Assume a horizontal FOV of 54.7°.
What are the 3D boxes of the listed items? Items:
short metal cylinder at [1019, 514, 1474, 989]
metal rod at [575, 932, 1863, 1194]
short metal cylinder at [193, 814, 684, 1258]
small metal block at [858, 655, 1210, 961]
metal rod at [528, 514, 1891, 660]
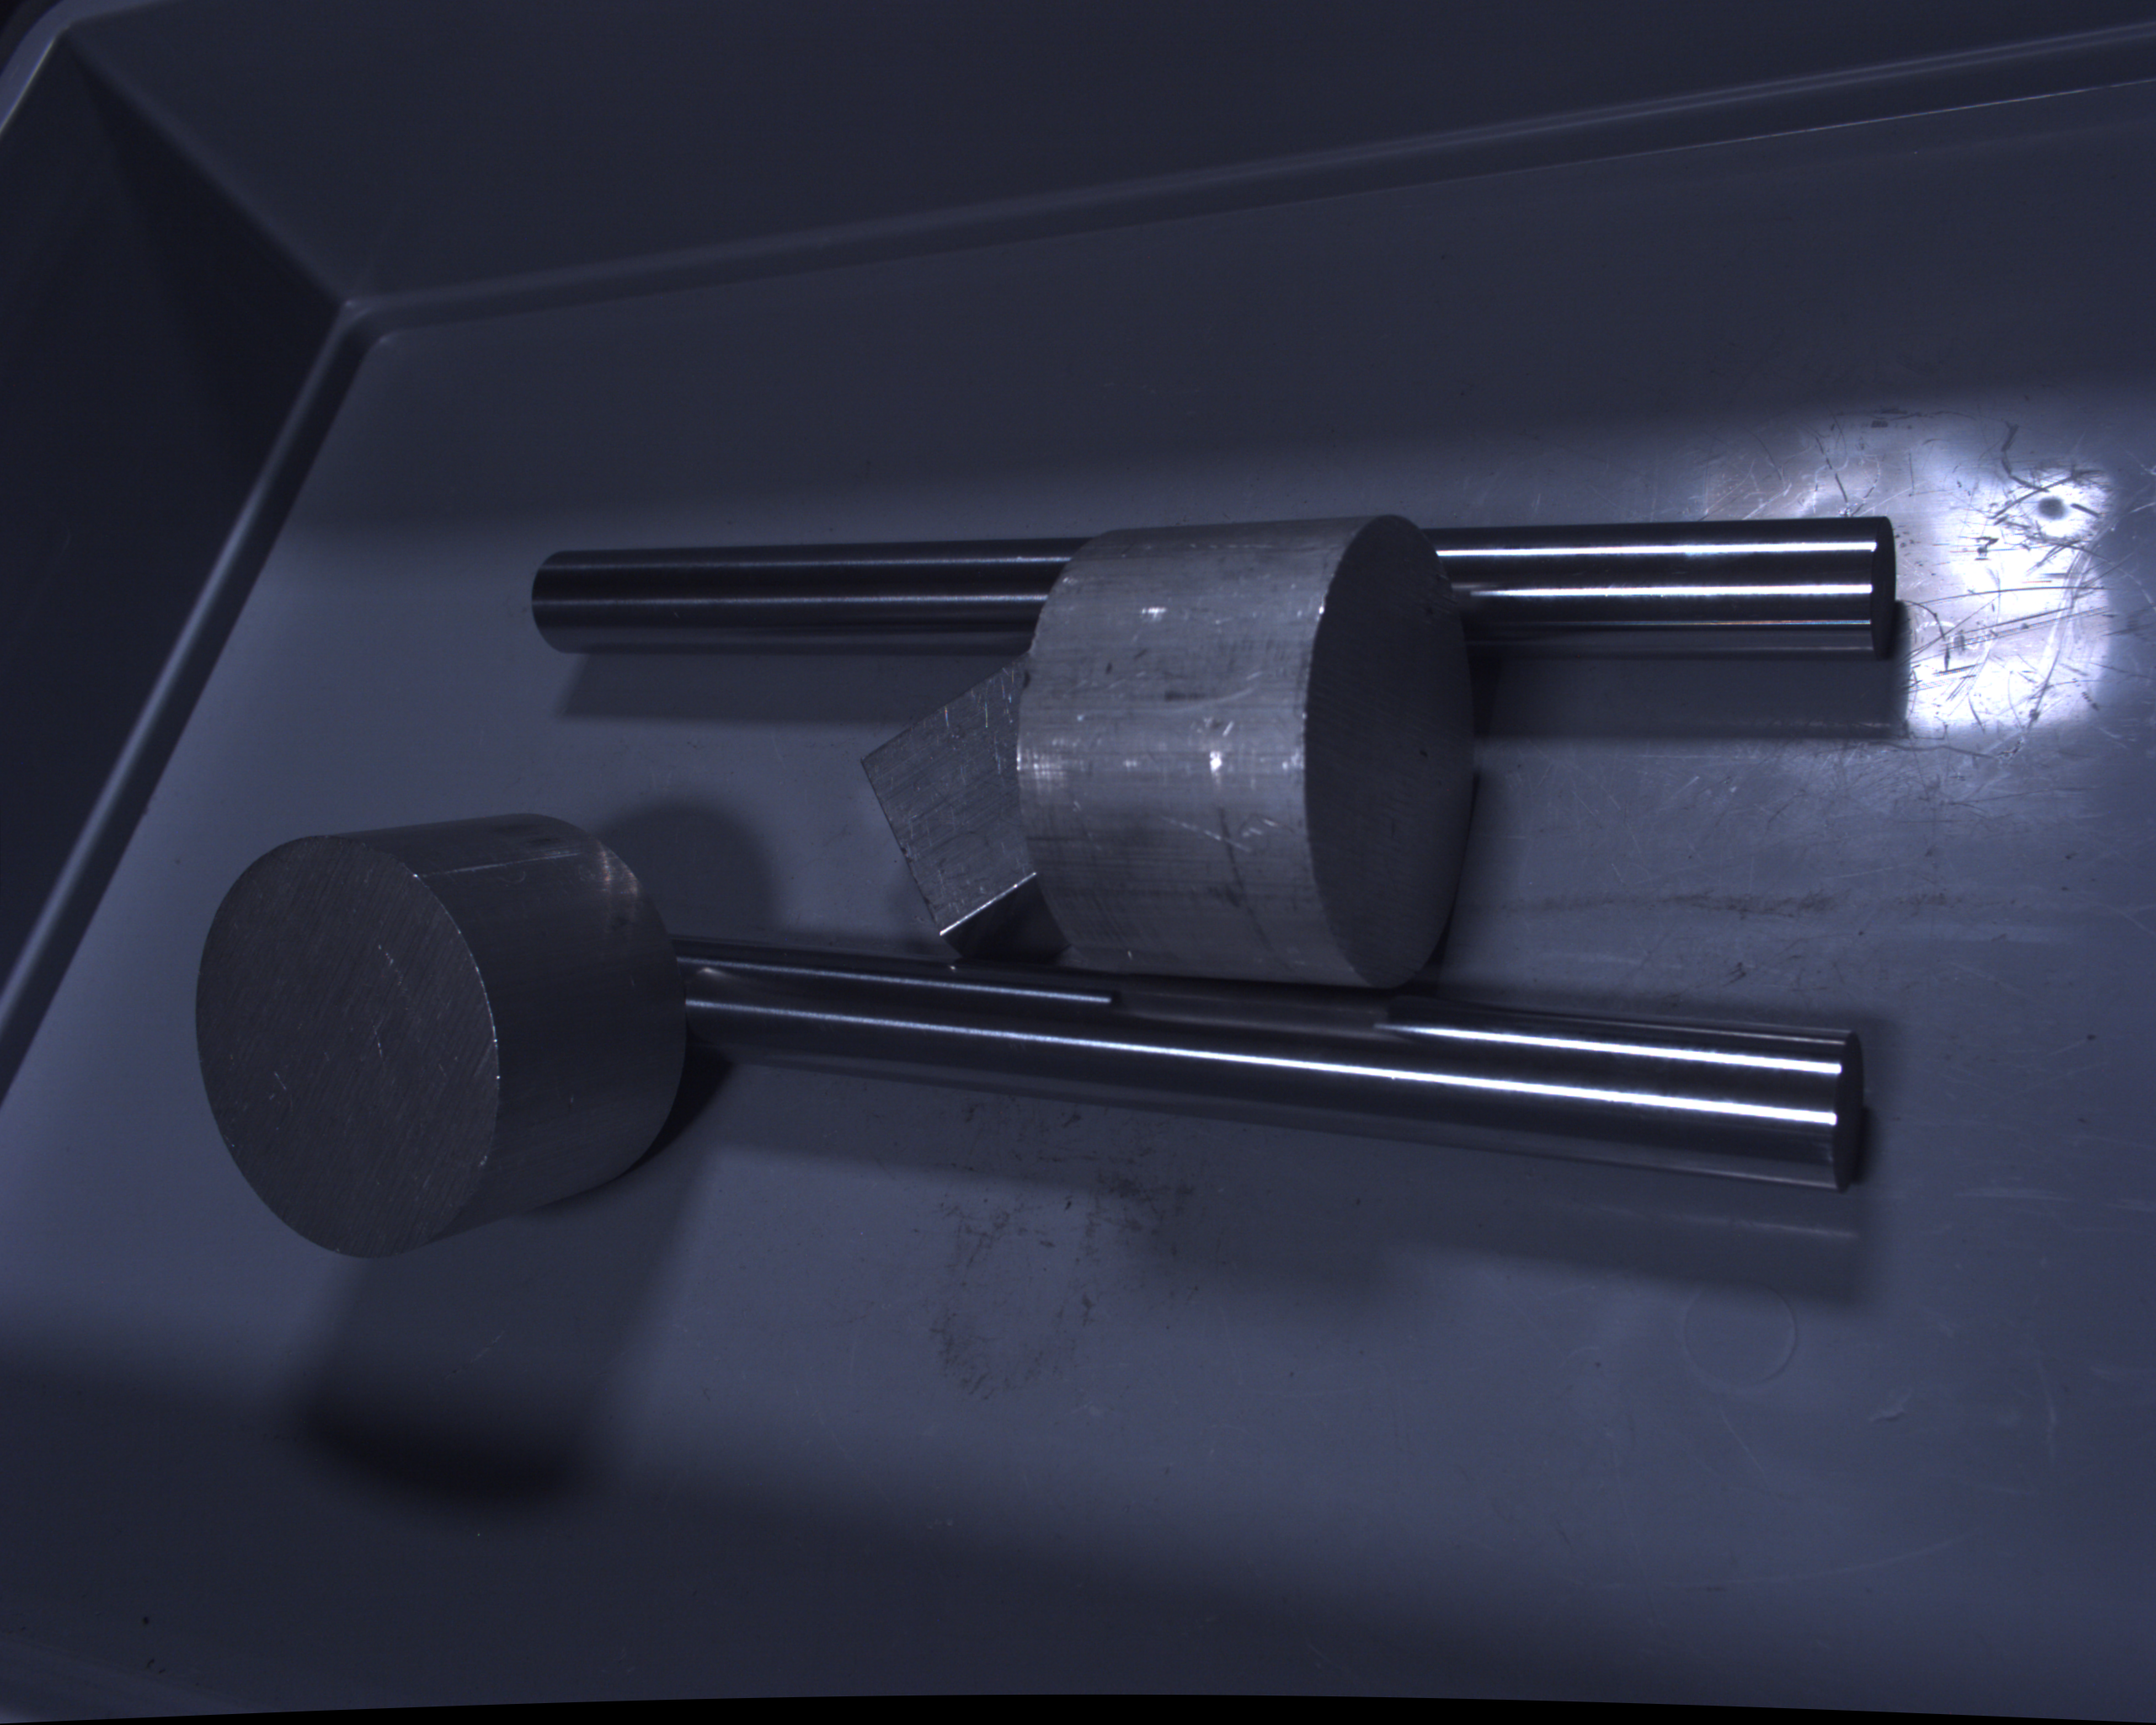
[{"bbox_3d":[0.032,-0.019,0.363,0.050,0.080,0.080,2,63,29],"label":"short metal cylinder"},{"bbox_3d":[-0.014,0.031,0.390,0.300,0.025,0.025,3,63,29],"label":"metal rod"},{"bbox_3d":[-0.125,0.032,0.410,0.080,0.050,0.079,4,98,29],"label":"short metal cylinder"},{"bbox_3d":[-0.009,-0.011,0.414,0.050,0.025,0.050,-33,52,6],"label":"small metal block"},{"bbox_3d":[0.007,-0.055,0.432,0.300,0.025,0.025,3,64,29],"label":"metal rod"}]
